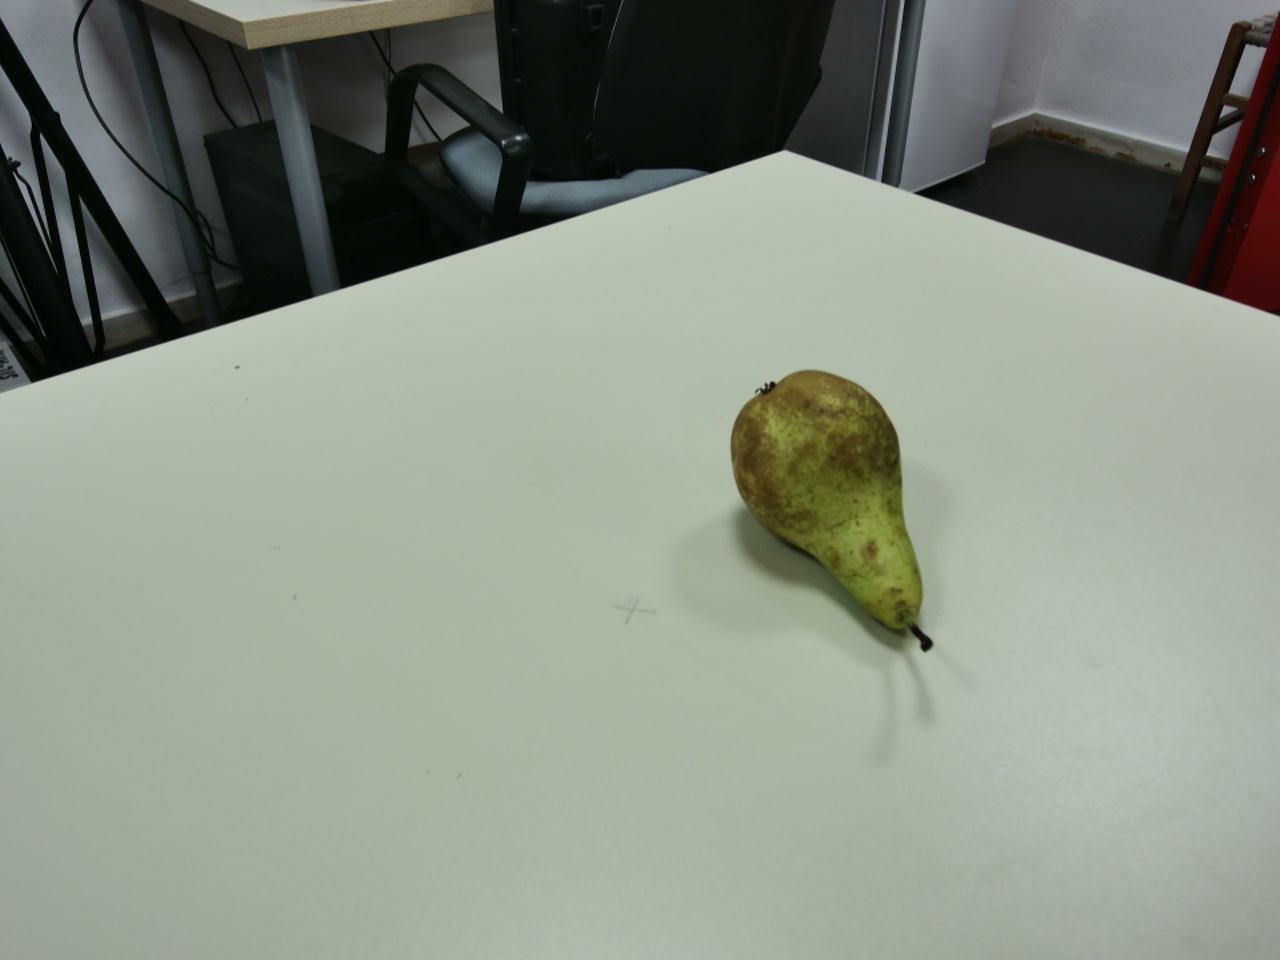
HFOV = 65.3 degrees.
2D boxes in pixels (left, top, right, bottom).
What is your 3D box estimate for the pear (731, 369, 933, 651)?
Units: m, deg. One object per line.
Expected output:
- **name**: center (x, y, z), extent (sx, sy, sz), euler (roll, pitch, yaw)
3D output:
- **pear**: center (0.093, 0.007, 0.409), extent (0.071, 0.075, 0.144), euler (-19, 39, -24)
